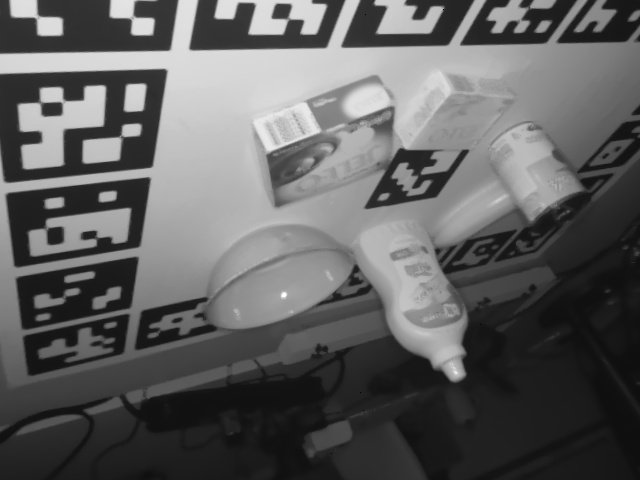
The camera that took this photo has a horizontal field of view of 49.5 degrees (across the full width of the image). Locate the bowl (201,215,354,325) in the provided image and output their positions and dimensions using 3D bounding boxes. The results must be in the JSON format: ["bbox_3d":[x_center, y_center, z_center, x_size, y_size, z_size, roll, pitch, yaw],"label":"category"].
[{"bbox_3d":[-0.050,0.023,0.708,0.163,0.055,0.160,-20,152,-10],"label":"bowl"}]

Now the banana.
[{"bbox_3d":[0.239,-0.040,0.838,0.196,0.039,0.075,-33,161,14],"label":"banana"}]

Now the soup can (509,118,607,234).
[{"bbox_3d":[0.248,-0.066,0.716,0.068,0.102,0.067,-17,152,-9],"label":"soup can"}]

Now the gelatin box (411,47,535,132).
[{"bbox_3d":[0.136,-0.130,0.616,0.091,0.030,0.072,-5,143,-33],"label":"gelatin box"}]

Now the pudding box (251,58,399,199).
[{"bbox_3d":[0.008,-0.091,0.572,0.114,0.038,0.089,-22,146,-6],"label":"pudding box"}]

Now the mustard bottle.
[{"bbox_3d":[0.127,0.075,0.760,0.097,0.191,0.057,-8,150,-26],"label":"mustard bottle"}]
